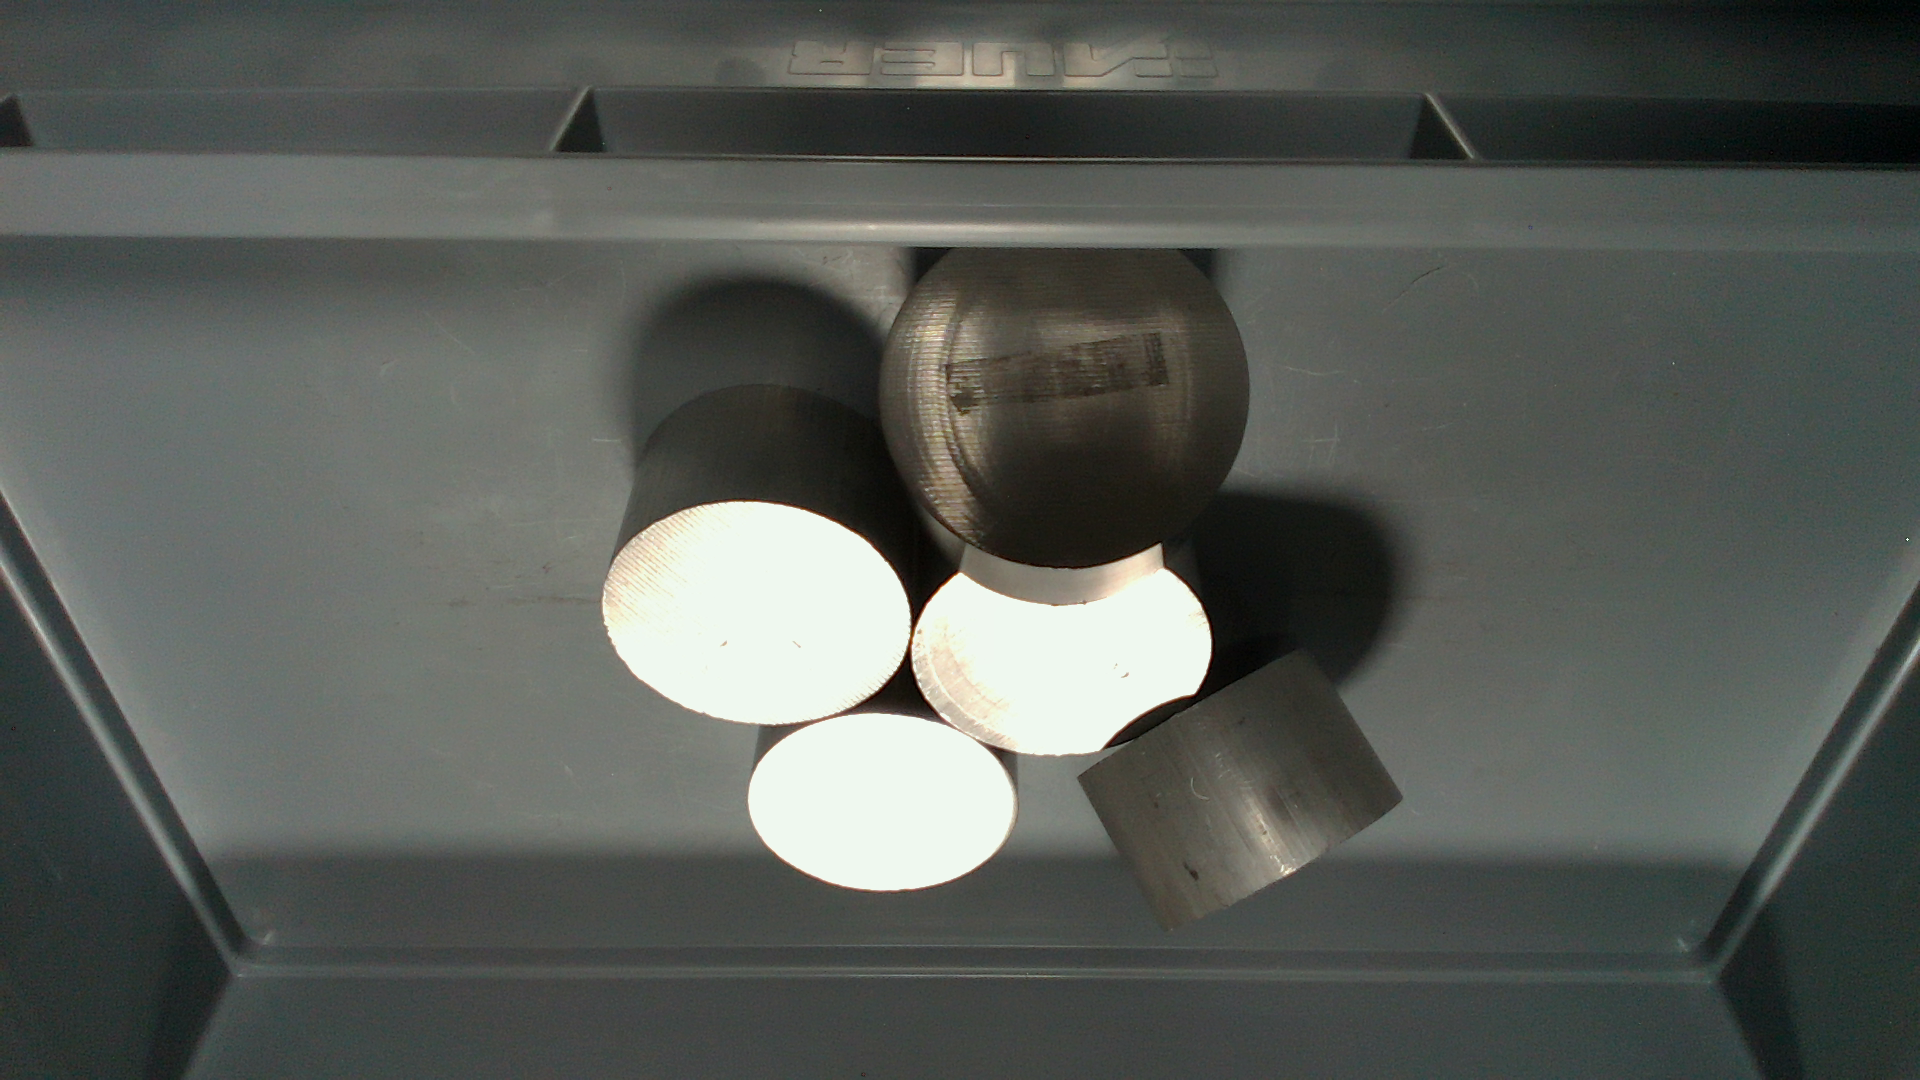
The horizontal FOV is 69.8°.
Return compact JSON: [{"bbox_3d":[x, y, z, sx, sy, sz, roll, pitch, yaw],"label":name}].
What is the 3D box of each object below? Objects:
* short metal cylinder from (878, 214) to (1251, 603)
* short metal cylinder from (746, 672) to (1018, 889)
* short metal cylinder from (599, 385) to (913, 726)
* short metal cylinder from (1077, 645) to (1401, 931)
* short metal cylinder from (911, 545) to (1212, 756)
[{"bbox_3d":[0.023,-0.028,0.320,0.080,0.080,0.050,-2,169,2],"label":"short metal cylinder"},{"bbox_3d":[-0.023,0.063,0.425,0.080,0.050,0.080,0,130,0],"label":"short metal cylinder"},{"bbox_3d":[-0.053,0.005,0.376,0.080,0.050,0.080,0,130,0],"label":"short metal cylinder"},{"bbox_3d":[0.082,0.073,0.408,0.080,0.050,0.080,-28,167,-7],"label":"short metal cylinder"},{"bbox_3d":[0.027,0.015,0.385,0.080,0.050,0.080,0,130,0],"label":"short metal cylinder"}]
